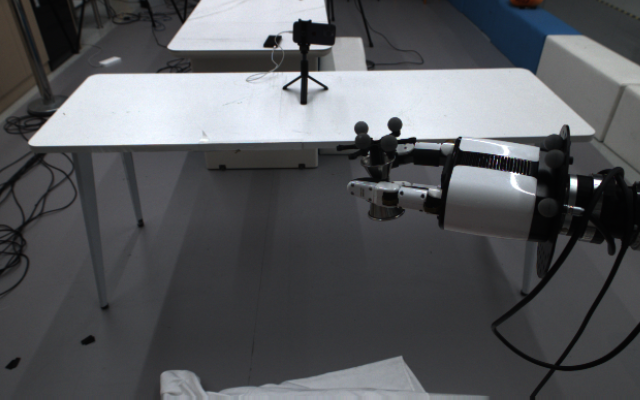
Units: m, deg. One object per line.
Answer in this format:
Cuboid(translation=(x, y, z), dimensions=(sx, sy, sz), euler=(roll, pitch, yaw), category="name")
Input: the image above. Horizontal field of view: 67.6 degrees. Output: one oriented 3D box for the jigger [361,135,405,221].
Cuboid(translation=(0.073, -0.017, 0.562), dimensions=(0.043, 0.071, 0.043), euler=(-11, 23, 5), category="jigger")
